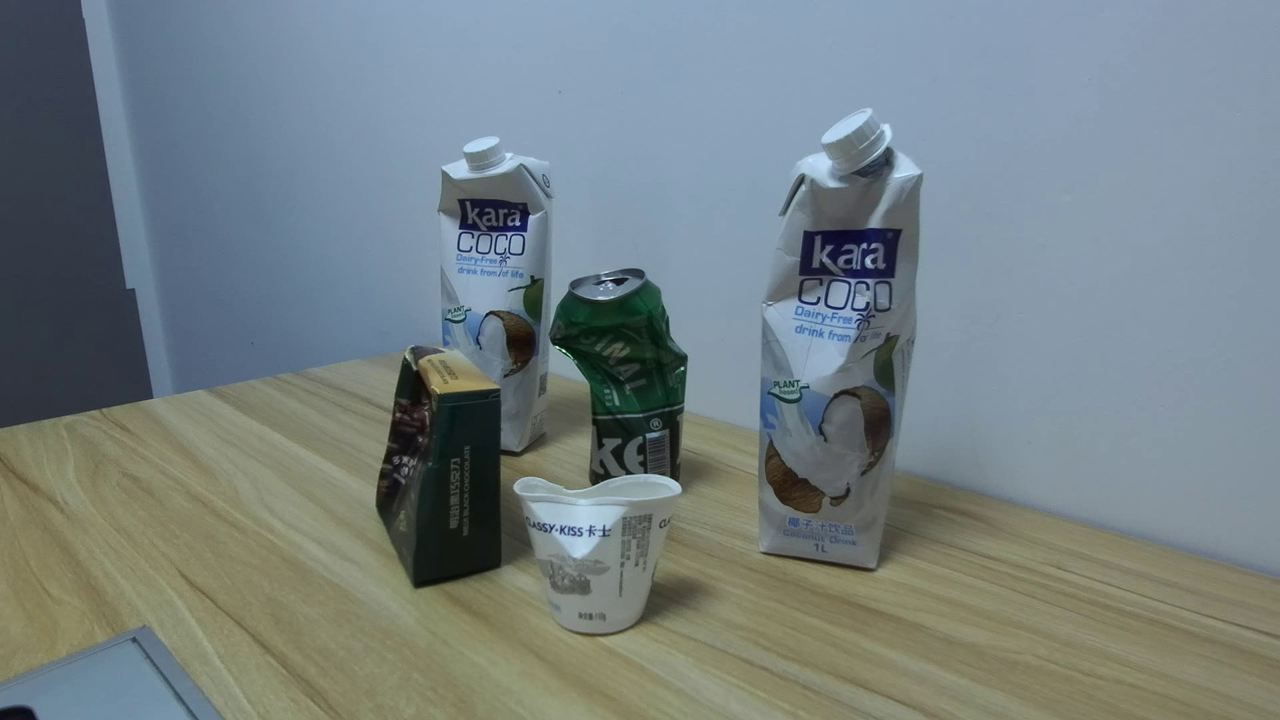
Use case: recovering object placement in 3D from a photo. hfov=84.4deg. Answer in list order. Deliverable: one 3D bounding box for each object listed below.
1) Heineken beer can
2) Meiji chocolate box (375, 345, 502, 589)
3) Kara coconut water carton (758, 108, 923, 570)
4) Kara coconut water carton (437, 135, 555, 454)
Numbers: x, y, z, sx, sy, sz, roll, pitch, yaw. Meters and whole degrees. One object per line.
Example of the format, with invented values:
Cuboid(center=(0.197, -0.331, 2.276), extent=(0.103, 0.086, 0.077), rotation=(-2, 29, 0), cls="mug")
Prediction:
Cuboid(center=(-0.008, 0.019, 0.495), extent=(0.067, 0.159, 0.079), rotation=(10, 24, 42), cls="Heineken beer can")
Cuboid(center=(-0.125, 0.058, 0.431), extent=(0.058, 0.110, 0.112), rotation=(-1, 14, -31), cls="Meiji chocolate box")
Cuboid(center=(0.113, -0.009, 0.409), extent=(0.083, 0.255, 0.078), rotation=(10, 19, 27), cls="Kara coconut water carton")
Cuboid(center=(-0.115, -0.051, 0.573), extent=(0.099, 0.244, 0.071), rotation=(2, 12, 12), cls="Kara coconut water carton")
